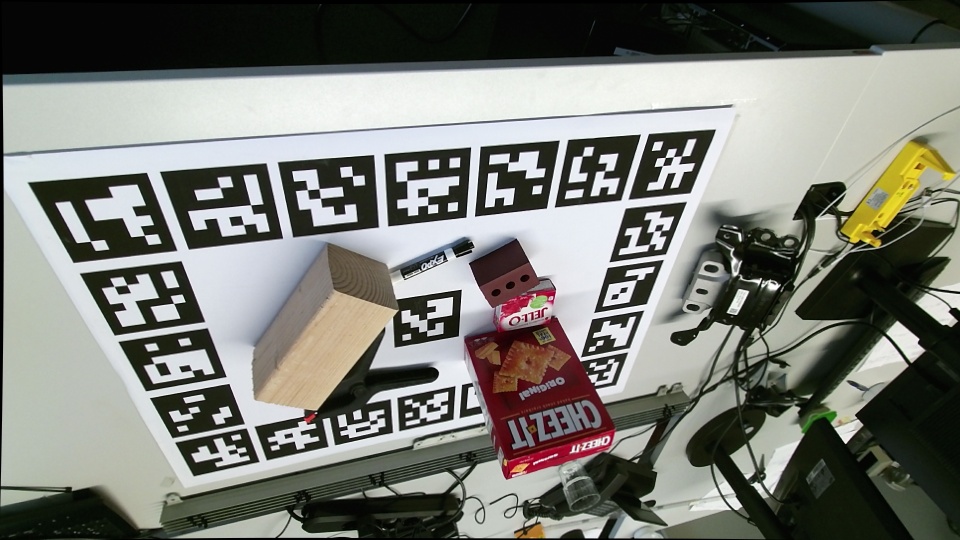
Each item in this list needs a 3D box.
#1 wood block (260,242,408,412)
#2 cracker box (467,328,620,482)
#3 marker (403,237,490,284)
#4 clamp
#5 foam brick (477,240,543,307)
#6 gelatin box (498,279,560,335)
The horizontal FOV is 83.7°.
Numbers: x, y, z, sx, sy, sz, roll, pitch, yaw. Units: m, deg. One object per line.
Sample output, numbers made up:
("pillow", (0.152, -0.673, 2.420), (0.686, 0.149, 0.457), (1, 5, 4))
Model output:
("wood block", (-0.193, 0.079, 0.690), (0.090, 0.090, 0.206), (23, 118, -37))
("cracker box", (0.086, 0.196, 0.805), (0.165, 0.212, 0.072), (-11, 131, -12))
("marker", (-0.043, -0.014, 0.717), (0.121, 0.019, 0.020), (-24, 130, -3))
("clamp", (-0.172, 0.178, 0.810), (0.203, 0.036, 0.166), (-32, 131, 4))
("foam brick", (0.045, 0.006, 0.749), (0.078, 0.051, 0.053), (-28, 130, 0))
("gelatin box", (0.075, 0.057, 0.821), (0.090, 0.030, 0.073), (-9, 128, -15))
